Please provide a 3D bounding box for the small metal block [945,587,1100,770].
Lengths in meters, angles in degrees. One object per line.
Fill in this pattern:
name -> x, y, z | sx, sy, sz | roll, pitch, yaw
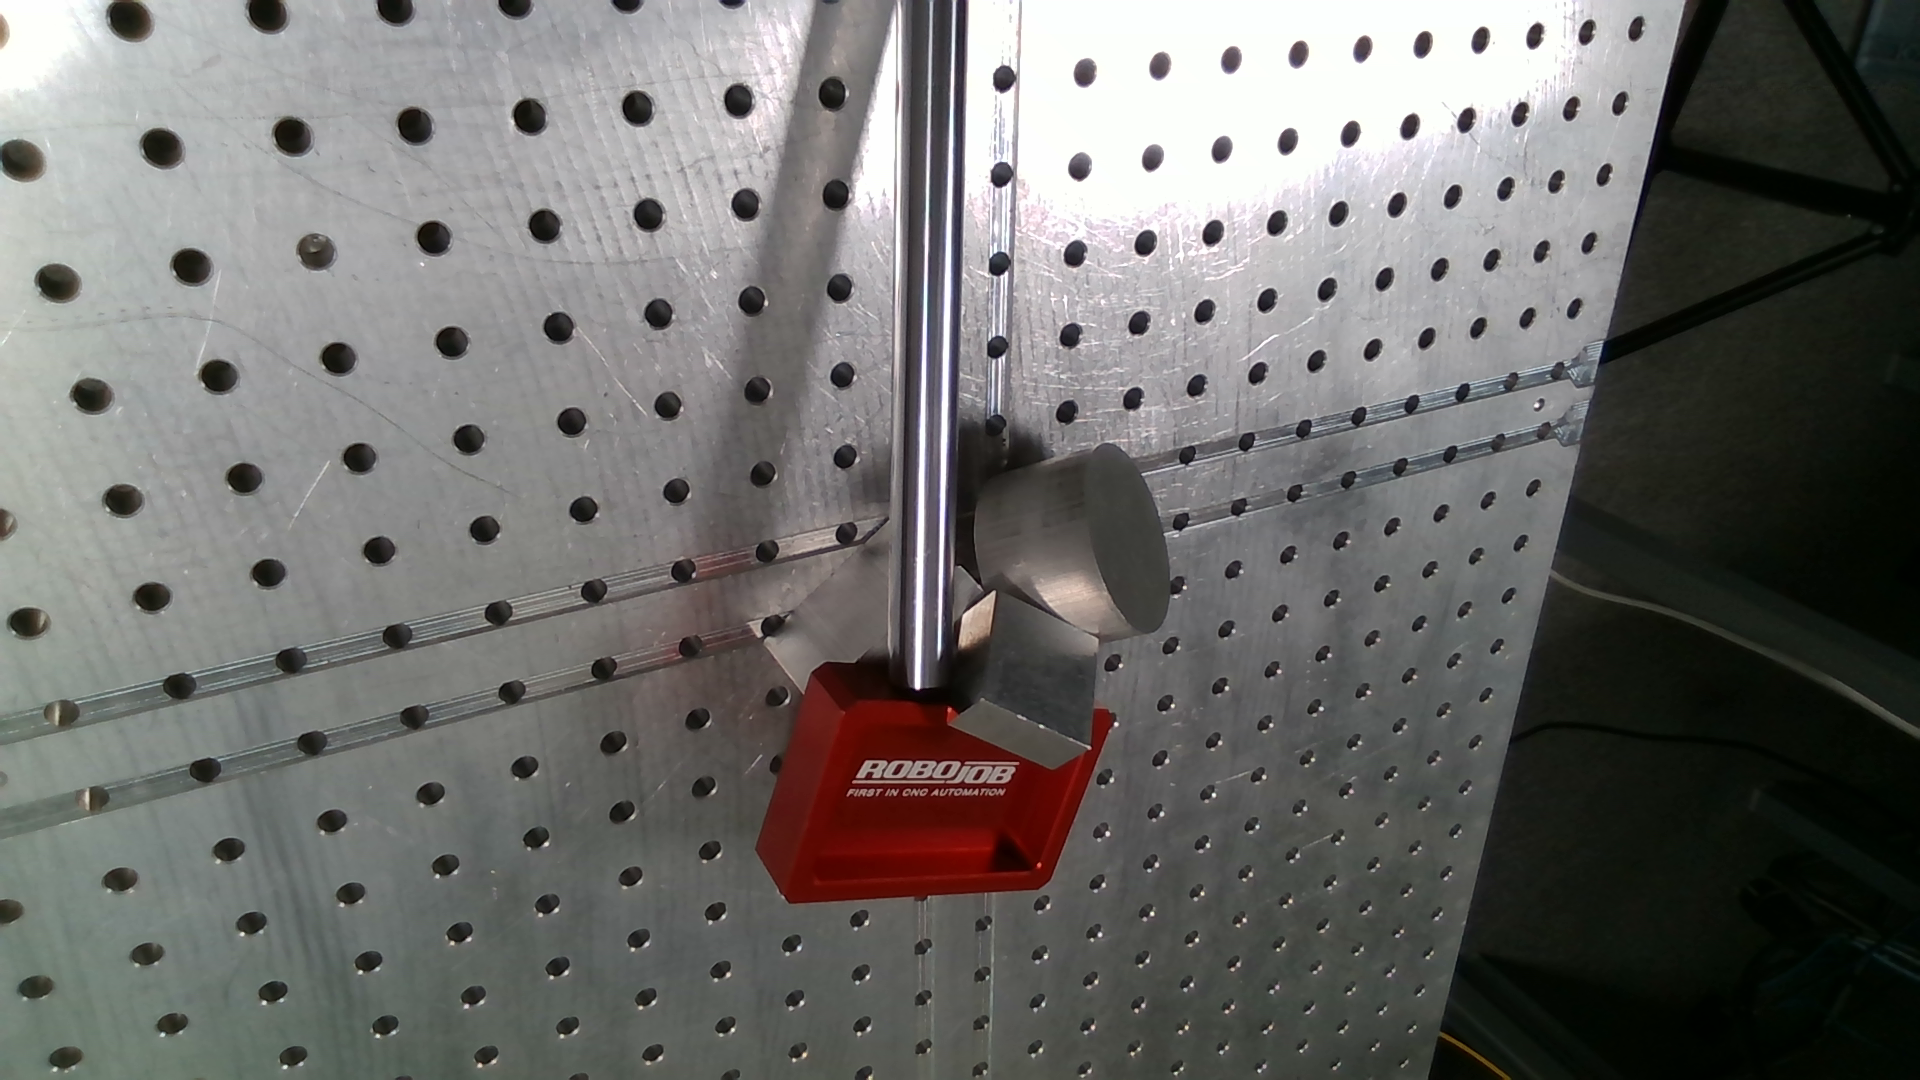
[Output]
small metal block -> 0.025, 0.054, 0.535 | 0.050, 0.050, 0.025 | 26, 140, -21

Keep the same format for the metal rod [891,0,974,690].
metal rod -> -0.010, -0.092, 0.490 | 0.025, 0.025, 0.300 | -7, 107, -29

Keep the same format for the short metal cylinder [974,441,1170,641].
short metal cylinder -> 0.048, 0.004, 0.572 | 0.050, 0.080, 0.080 | -15, 135, 28

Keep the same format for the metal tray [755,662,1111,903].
metal tray -> -0.009, 0.099, 0.560 | 0.130, 0.030, 0.090 | 7, 111, -34

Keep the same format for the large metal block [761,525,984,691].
large metal block -> -0.021, 0.049, 0.579 | 0.080, 0.050, 0.080 | -44, 129, -4
